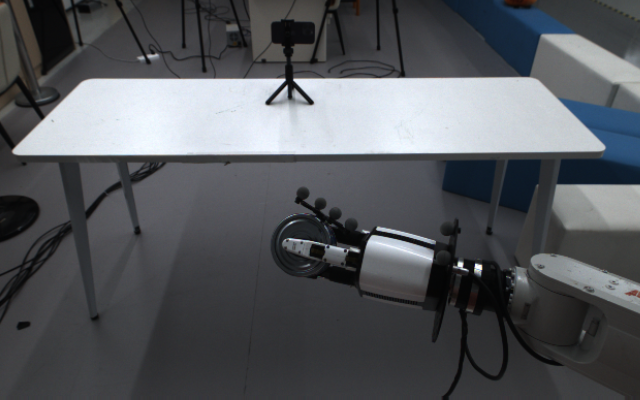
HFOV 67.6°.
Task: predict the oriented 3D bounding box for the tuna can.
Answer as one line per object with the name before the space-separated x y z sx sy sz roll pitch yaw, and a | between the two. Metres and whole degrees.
tuna can | -0.019 0.067 0.647 0.085 0.085 0.034 13 -4 15
